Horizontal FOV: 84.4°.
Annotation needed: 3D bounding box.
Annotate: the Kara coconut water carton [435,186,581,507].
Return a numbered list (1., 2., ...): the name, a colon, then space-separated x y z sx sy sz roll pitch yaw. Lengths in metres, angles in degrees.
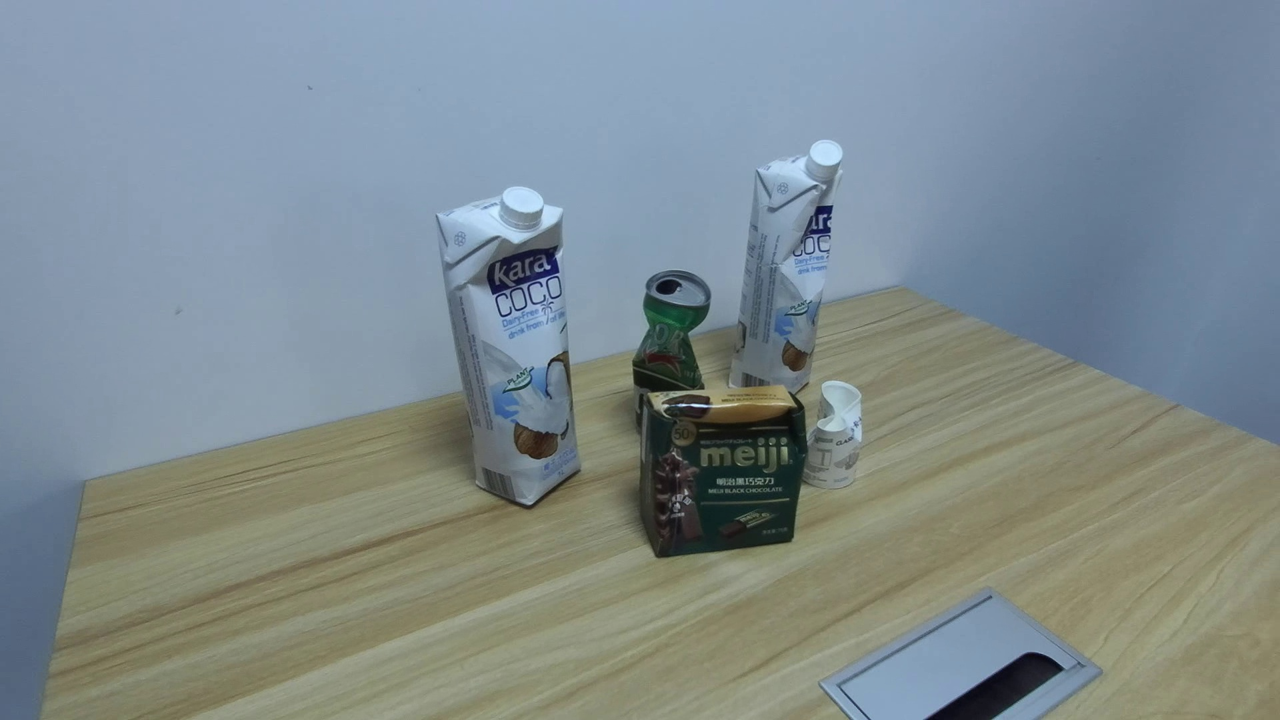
1. Kara coconut water carton: -0.096 -0.012 0.552 0.071 0.244 0.100 15 32 31

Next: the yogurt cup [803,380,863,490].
1. yogurt cup: 0.160 0.066 0.599 0.054 0.071 0.075 -3 28 -9

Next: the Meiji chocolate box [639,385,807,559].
1. Meiji chocolate box: 0.059 0.082 0.533 0.113 0.110 0.058 -2 16 -8

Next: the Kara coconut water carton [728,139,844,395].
1. Kara coconut water carton: 0.141 -0.083 0.686 0.083 0.255 0.078 -20 35 -36

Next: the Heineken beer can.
1. Heineken beer can: 0.028 0.002 0.628 0.067 0.159 0.078 -17 36 -26
